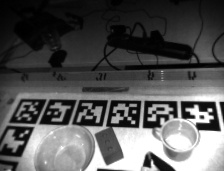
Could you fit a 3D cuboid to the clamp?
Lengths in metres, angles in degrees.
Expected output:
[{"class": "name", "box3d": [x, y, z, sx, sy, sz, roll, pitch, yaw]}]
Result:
[{"class": "clamp", "box3d": [0.105, 0.241, 0.499, 0.165, 0.037, 0.201, -19, 50, -2]}]

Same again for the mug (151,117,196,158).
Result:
[{"class": "mug", "box3d": [0.150, 0.130, 0.557, 0.116, 0.082, 0.093, 23, 59, 24]}]

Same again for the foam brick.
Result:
[{"class": "foam brick", "box3d": [-0.015, 0.166, 0.591, 0.053, 0.052, 0.077, -22, 51, -5]}]

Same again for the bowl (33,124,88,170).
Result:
[{"class": "bowl", "box3d": [-0.134, 0.184, 0.591, 0.161, 0.055, 0.161, -5, 50, 7]}]
